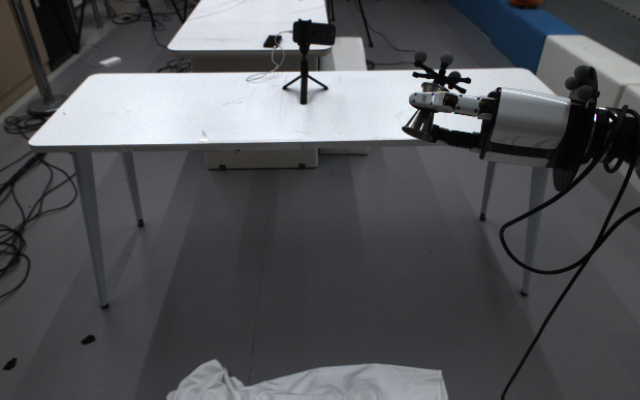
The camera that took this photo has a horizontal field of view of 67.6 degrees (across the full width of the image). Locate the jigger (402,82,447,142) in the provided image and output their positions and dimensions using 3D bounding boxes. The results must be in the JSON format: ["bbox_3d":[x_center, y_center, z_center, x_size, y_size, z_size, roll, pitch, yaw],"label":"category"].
[{"bbox_3d":[0.142,-0.122,0.657,0.043,0.071,0.043,24,-3,1],"label":"jigger"}]
